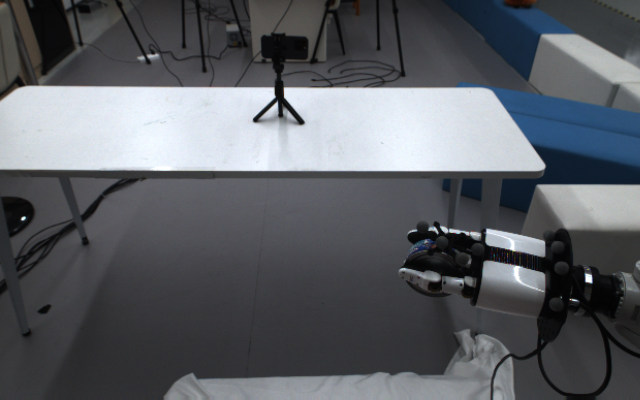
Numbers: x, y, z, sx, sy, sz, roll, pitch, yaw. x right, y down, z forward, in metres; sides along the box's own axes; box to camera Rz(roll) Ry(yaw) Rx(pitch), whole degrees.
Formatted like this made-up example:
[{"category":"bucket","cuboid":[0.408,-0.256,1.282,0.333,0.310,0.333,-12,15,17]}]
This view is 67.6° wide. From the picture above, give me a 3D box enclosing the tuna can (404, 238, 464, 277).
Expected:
[{"category":"tuna can","cuboid":[0.169,0.098,0.705,0.085,0.085,0.034,12,33,14]}]
